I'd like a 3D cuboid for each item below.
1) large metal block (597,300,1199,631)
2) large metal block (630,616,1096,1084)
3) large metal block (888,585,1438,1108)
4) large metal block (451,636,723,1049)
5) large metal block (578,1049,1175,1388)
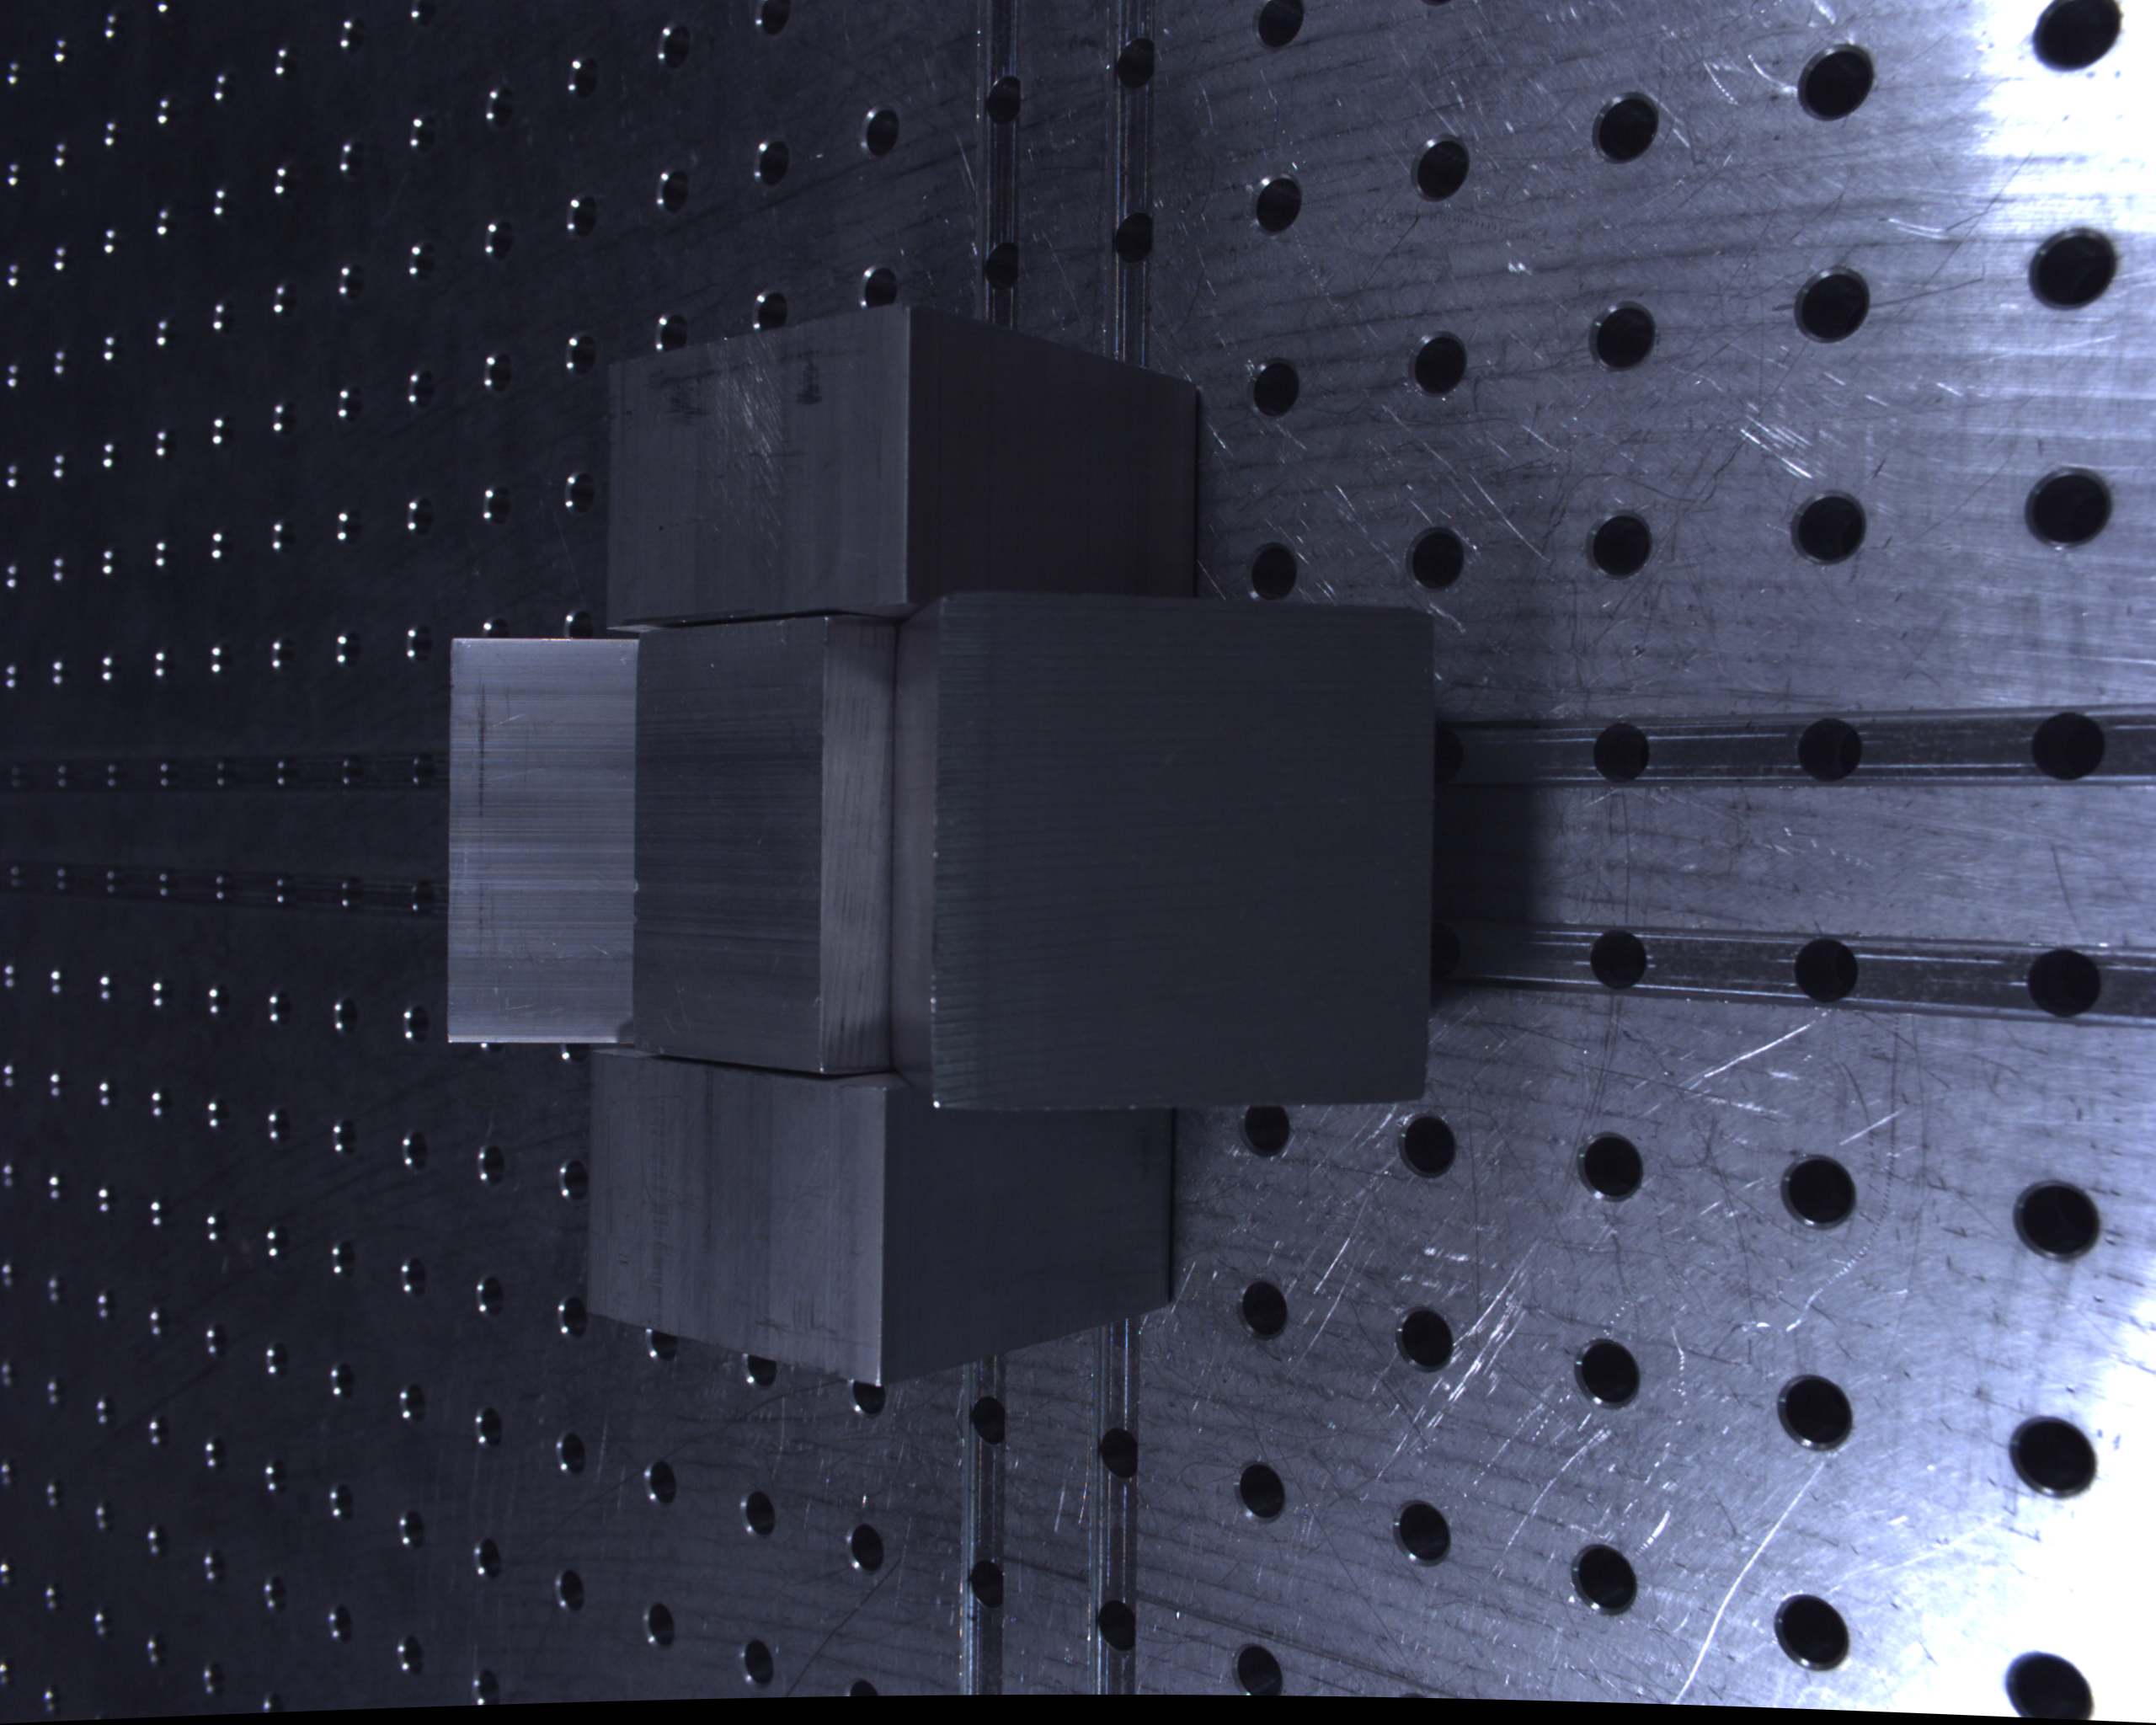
[{"bbox_3d":[-0.034,-0.068,0.398,0.080,0.081,0.050,2,91,39],"label":"large metal block"},{"bbox_3d":[-0.037,-0.003,0.401,0.050,0.081,0.079,1,91,40],"label":"large metal block"},{"bbox_3d":[0.012,-0.002,0.351,0.050,0.081,0.079,-177,88,-77],"label":"large metal block"},{"bbox_3d":[-0.095,-0.005,0.441,0.050,0.080,0.079,0,91,0],"label":"large metal block"},{"bbox_3d":[-0.038,0.061,0.401,0.080,0.081,0.050,2,91,39],"label":"large metal block"}]
